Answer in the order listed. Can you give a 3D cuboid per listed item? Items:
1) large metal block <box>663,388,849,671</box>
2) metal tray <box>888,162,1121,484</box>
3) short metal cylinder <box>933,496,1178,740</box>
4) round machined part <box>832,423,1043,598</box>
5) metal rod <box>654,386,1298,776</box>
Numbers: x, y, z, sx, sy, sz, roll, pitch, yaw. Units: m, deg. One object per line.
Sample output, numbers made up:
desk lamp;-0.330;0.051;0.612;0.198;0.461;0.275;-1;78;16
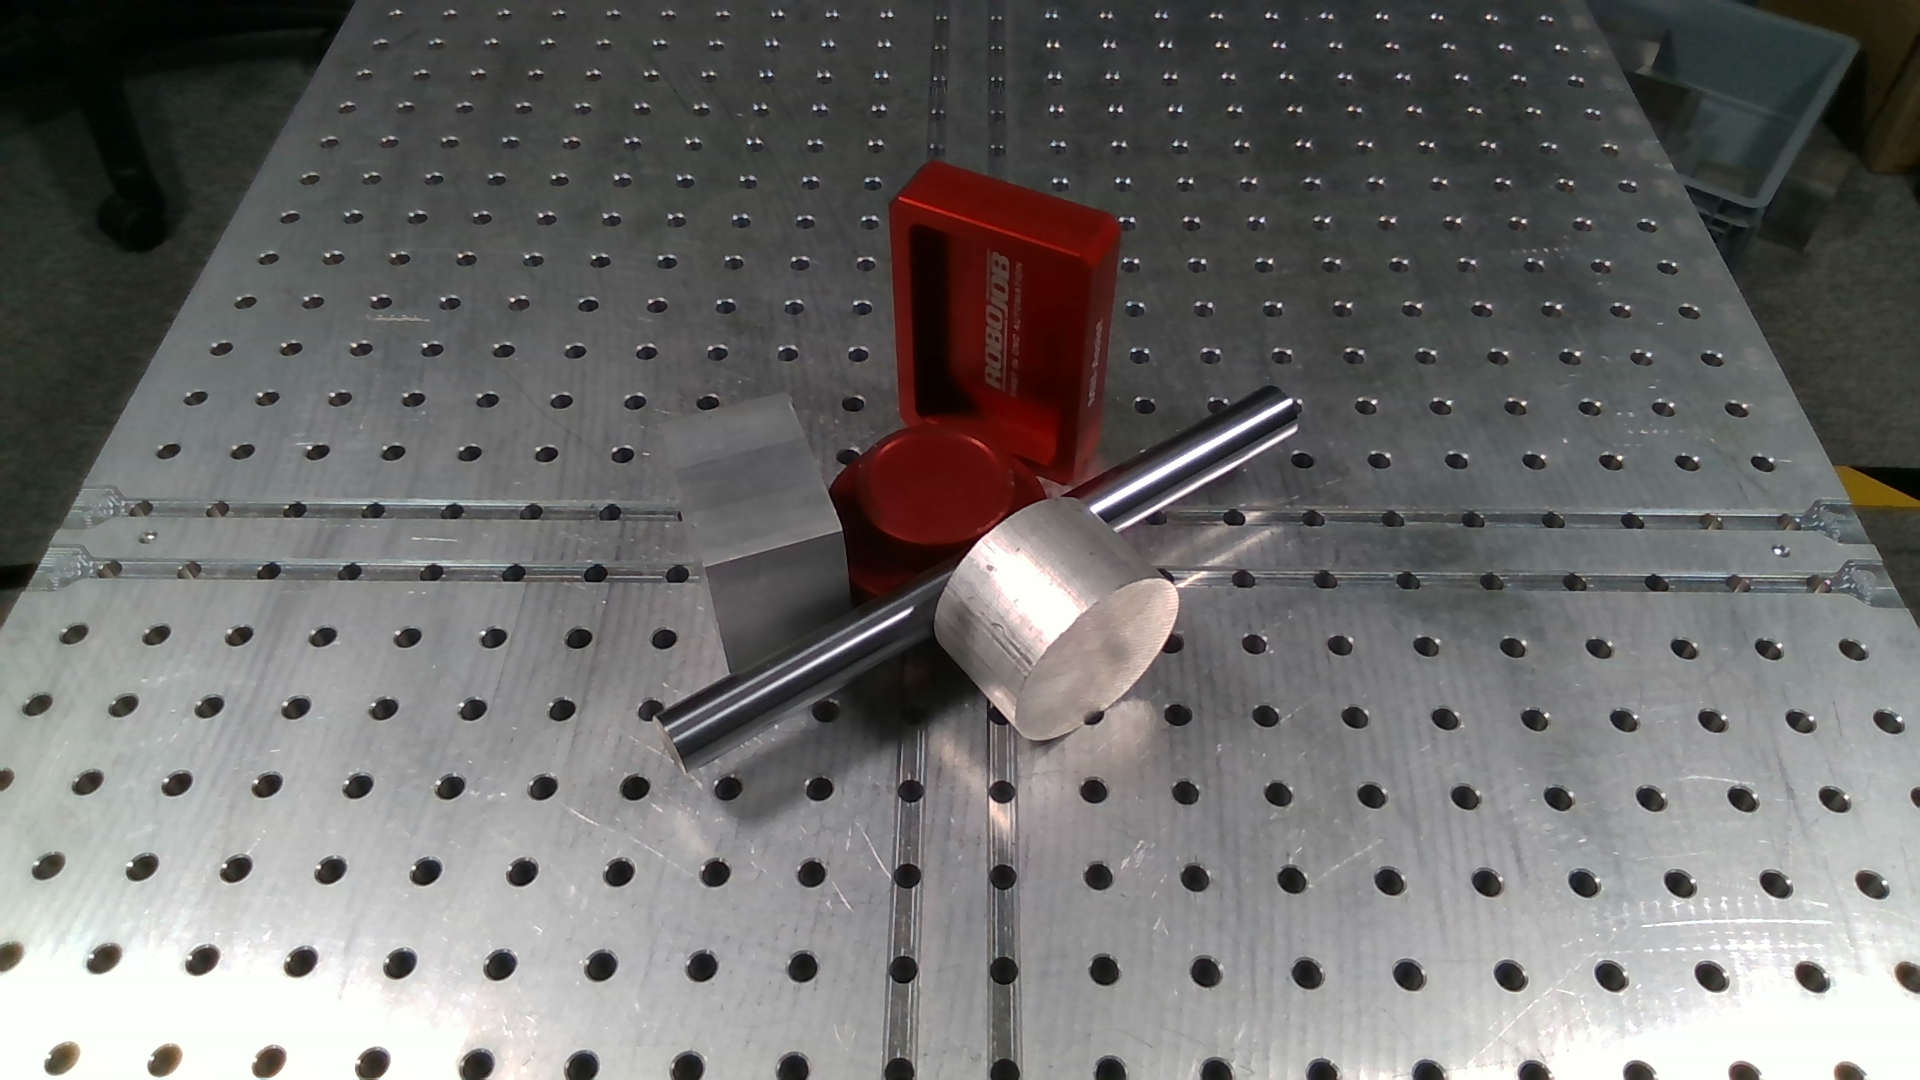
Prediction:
large metal block;-0.080;0.000;0.554;0.050;0.080;0.080;-15;52;-12
metal tray;0.017;-0.091;0.598;0.090;0.130;0.030;21;53;17
short metal cylinder;0.037;0.030;0.528;0.080;0.080;0.050;-30;56;-23
round machined part;-0.011;-0.012;0.588;0.098;0.042;0.098;0;50;0
metal rod;0.018;0.009;0.555;0.300;0.025;0.025;-28;56;-21
